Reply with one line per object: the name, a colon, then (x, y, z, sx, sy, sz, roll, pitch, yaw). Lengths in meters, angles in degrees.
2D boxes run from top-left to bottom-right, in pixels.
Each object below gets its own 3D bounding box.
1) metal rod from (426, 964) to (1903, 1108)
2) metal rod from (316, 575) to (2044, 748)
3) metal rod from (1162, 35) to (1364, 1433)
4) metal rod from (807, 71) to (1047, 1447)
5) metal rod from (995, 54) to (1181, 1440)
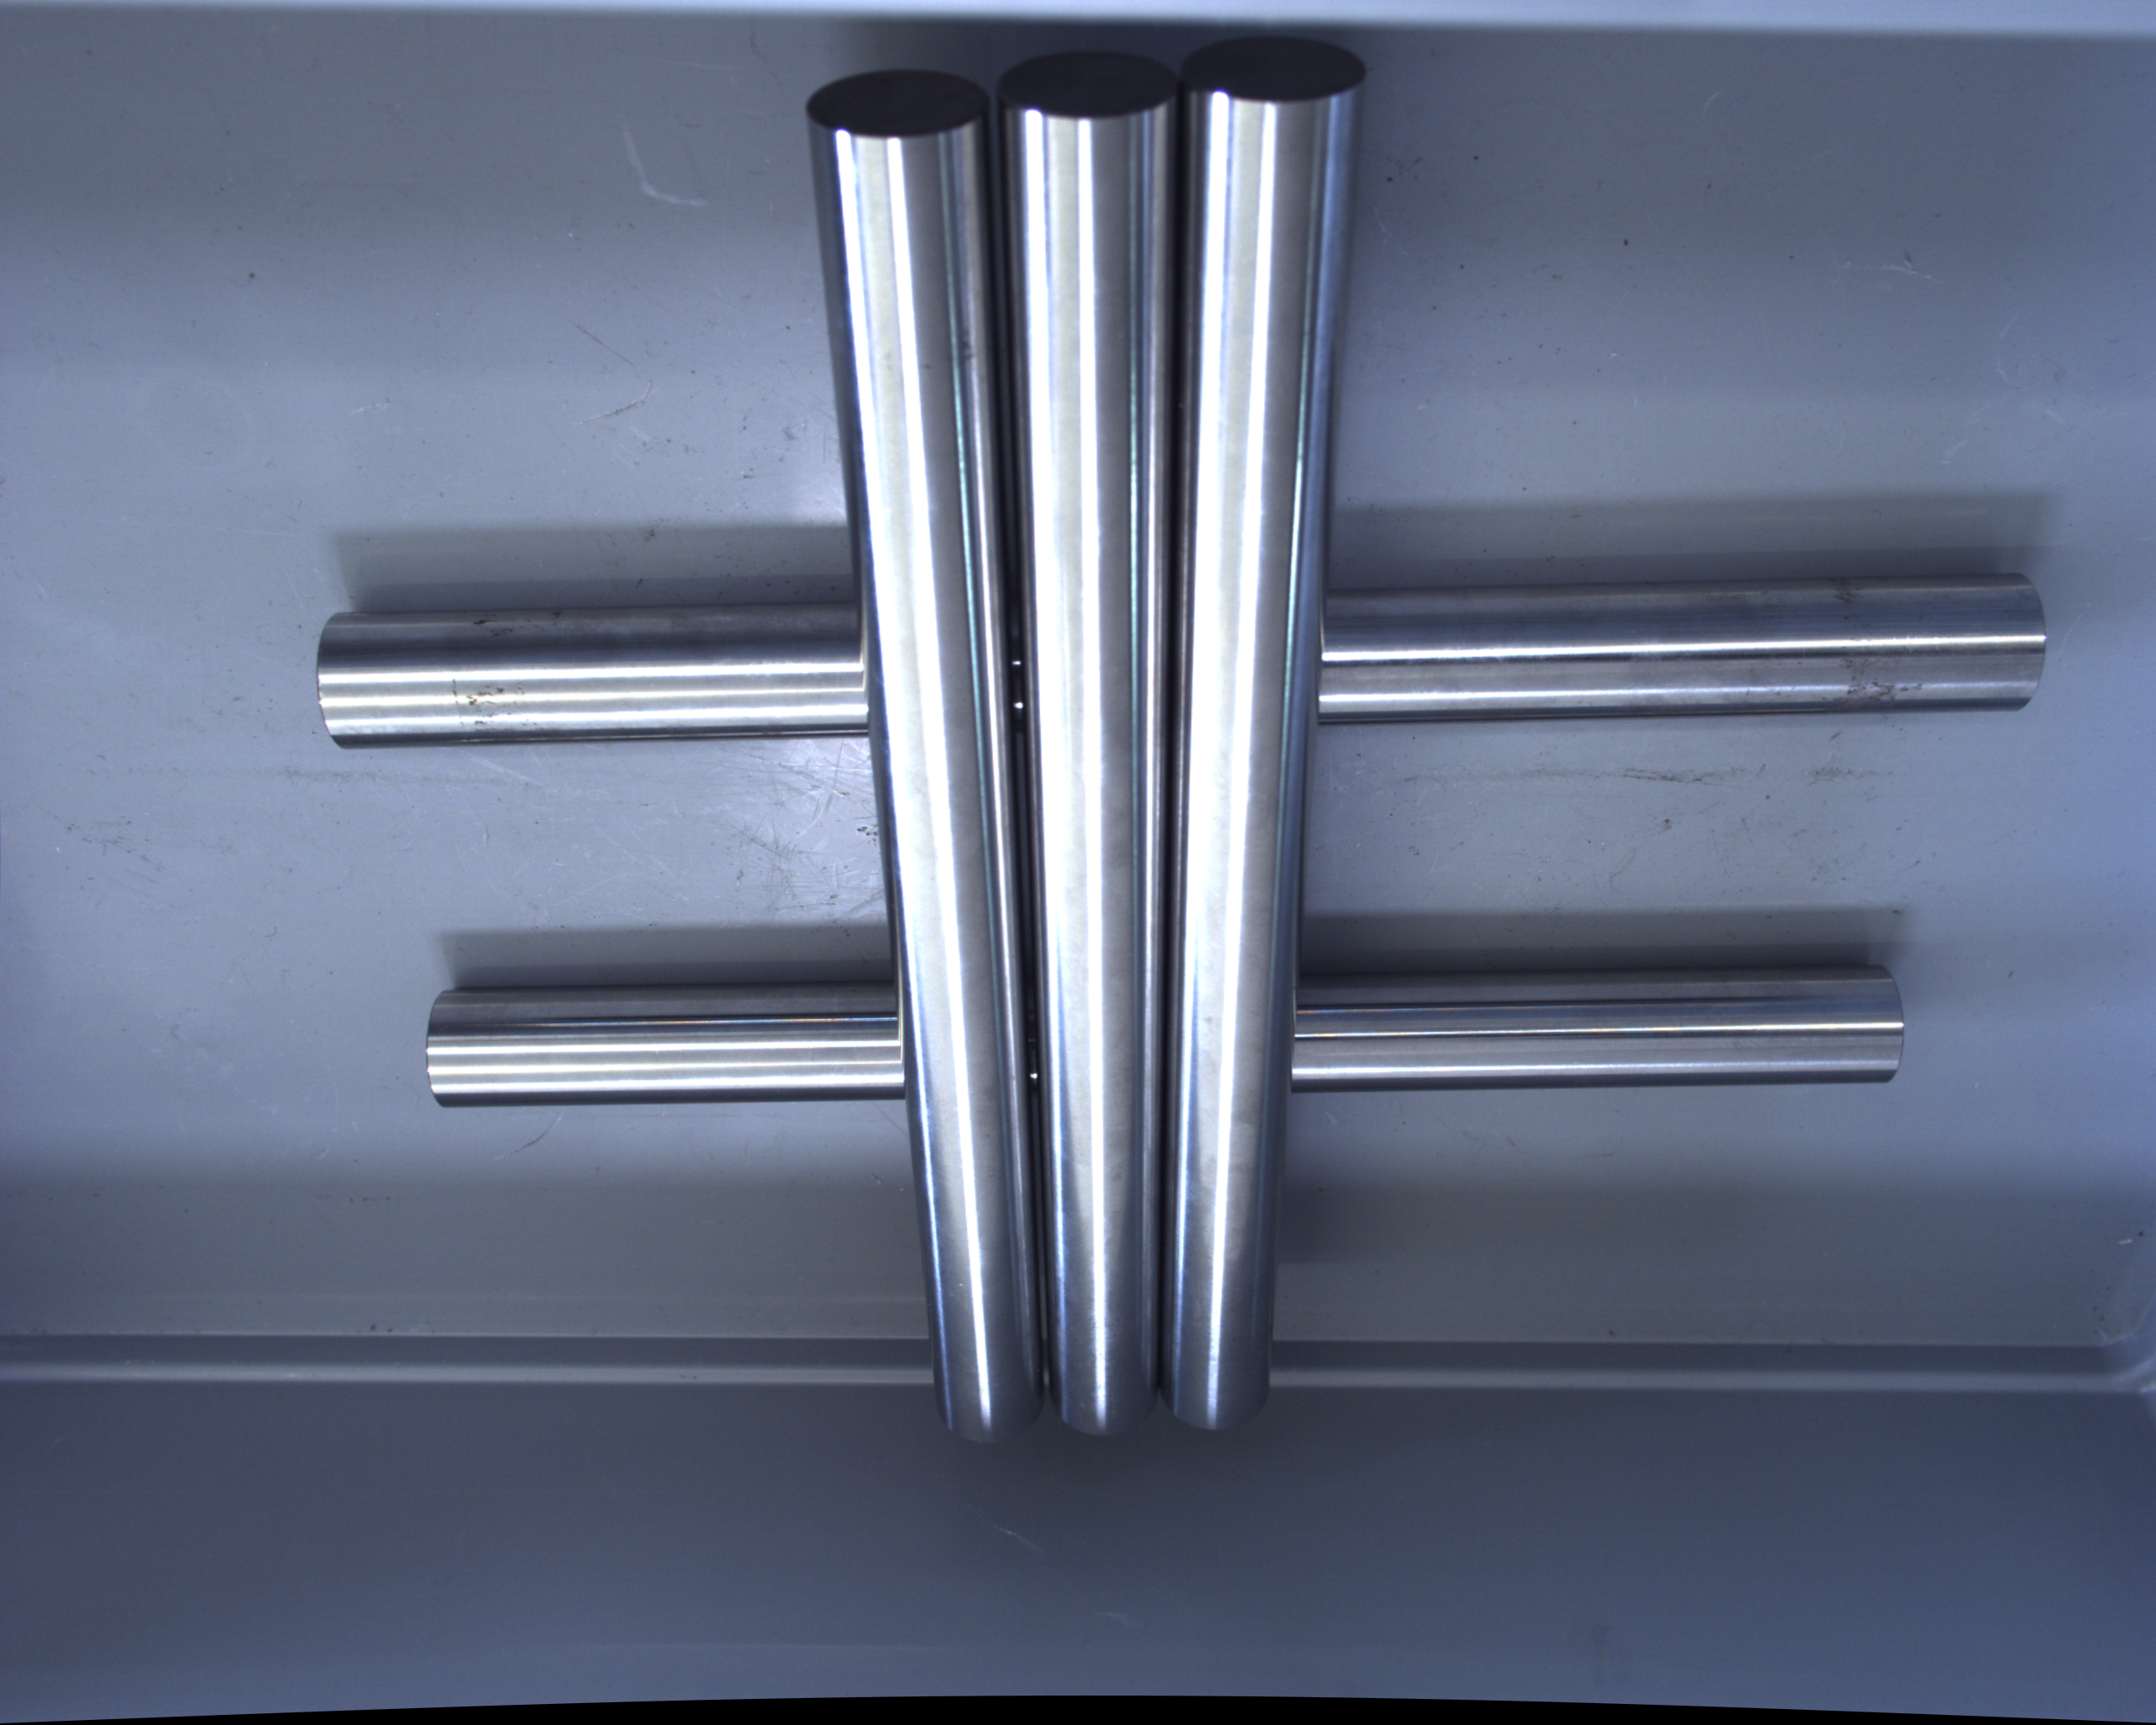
metal rod: (0.018, 0.036, 0.439, 0.302, 0.025, 0.025, -1, 130, 0)
metal rod: (0.018, -0.036, 0.377, 0.302, 0.025, 0.025, -1, 130, 0)
metal rod: (0.029, 0.006, 0.378, 0.025, 0.025, 0.298, -1, 130, 0)
metal rod: (-0.022, 0.010, 0.381, 0.025, 0.025, 0.298, -1, 130, 0)
metal rod: (0.004, 0.008, 0.380, 0.025, 0.025, 0.298, -1, 130, 0)
